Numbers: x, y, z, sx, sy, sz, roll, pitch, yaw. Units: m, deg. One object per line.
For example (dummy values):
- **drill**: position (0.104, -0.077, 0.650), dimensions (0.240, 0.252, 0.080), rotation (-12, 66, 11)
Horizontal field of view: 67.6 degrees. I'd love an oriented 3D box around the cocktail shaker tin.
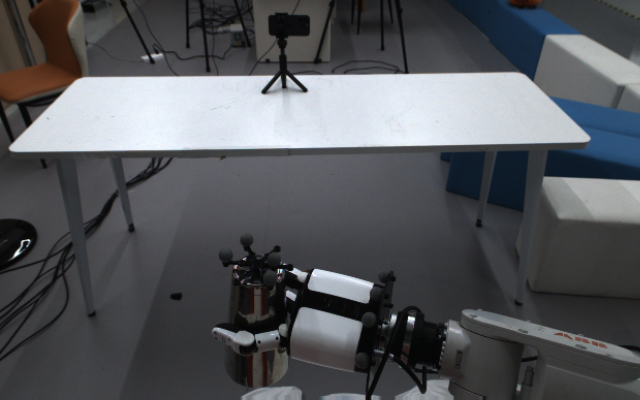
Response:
- **cocktail shaker tin**: position (-0.083, 0.159, 0.647), dimensions (0.093, 0.170, 0.093), rotation (4, 31, -2)
